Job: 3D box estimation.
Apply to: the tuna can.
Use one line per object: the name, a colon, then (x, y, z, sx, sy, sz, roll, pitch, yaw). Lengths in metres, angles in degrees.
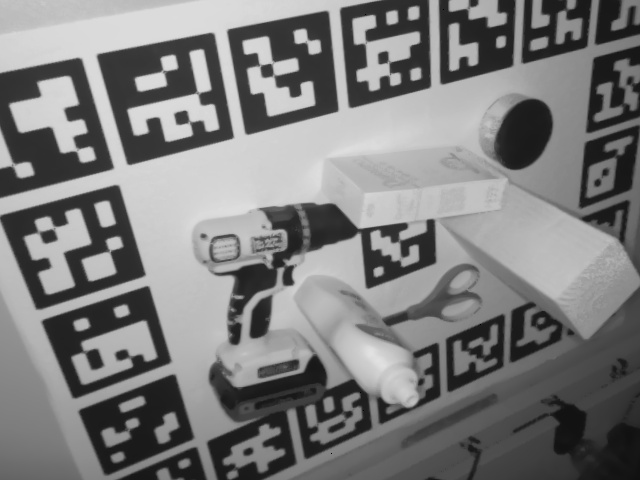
tuna can: (0.254, -0.120, 0.785, 0.087, 0.033, 0.085, -10, 115, -20)

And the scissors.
scissors: (0.165, 0.093, 0.851, 0.205, 0.016, 0.087, -16, 122, -19)

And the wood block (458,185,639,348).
wood block: (0.258, 0.015, 0.761, 0.091, 0.205, 0.090, -42, 122, -2)

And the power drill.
power drill: (-0.013, 0.056, 0.725, 0.187, 0.057, 0.186, -5, 107, -24)

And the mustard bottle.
mustard bottle: (0.060, 0.109, 0.715, 0.097, 0.190, 0.058, 35, 95, -32)

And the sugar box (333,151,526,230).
sugar box: (0.112, -0.055, 0.717, 0.179, 0.092, 0.045, -6, 118, -21)
